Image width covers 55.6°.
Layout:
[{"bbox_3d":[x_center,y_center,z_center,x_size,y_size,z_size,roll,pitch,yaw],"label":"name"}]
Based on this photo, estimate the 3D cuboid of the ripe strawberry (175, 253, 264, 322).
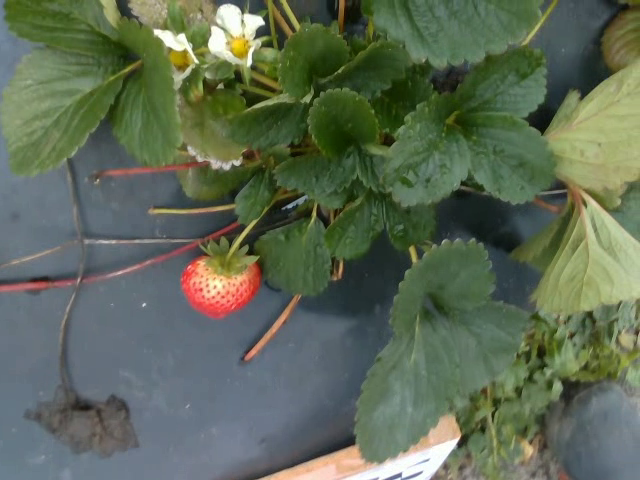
[{"bbox_3d":[-0.074,0.039,0.431,0.061,0.050,0.065,-12,-37,-18],"label":"ripe strawberry"}]
